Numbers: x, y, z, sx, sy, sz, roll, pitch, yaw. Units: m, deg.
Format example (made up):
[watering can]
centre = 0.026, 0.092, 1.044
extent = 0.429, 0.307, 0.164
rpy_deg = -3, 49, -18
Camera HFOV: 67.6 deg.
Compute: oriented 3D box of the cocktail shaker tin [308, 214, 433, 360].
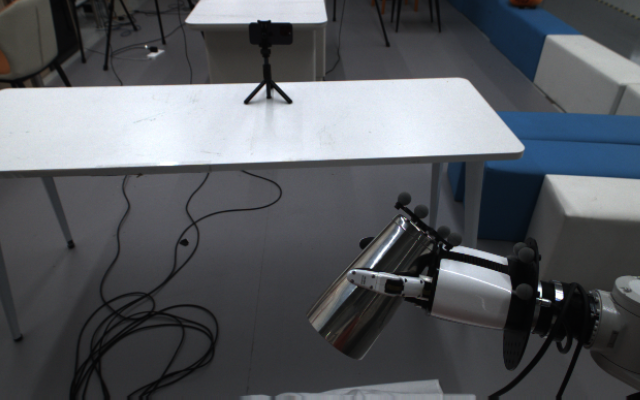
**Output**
[cocktail shaker tin]
centre = 0.072, 0.100, 0.609
extent = 0.170, 0.093, 0.093
rpy_deg = -50, 47, 3
